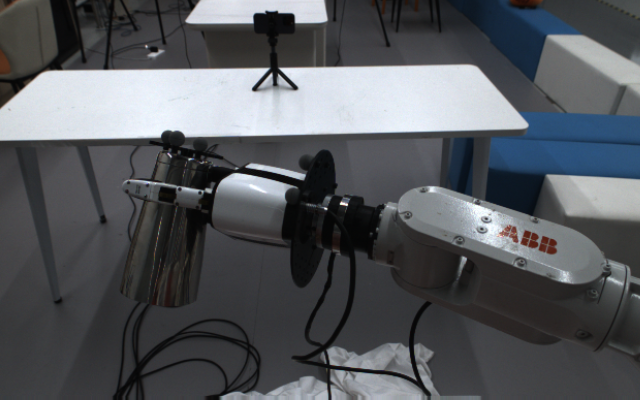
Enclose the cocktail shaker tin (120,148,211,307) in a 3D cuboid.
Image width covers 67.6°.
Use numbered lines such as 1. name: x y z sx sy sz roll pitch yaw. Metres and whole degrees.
1. cocktail shaker tin: -0.178 0.030 0.588 0.093 0.170 0.093 13 3 -1
